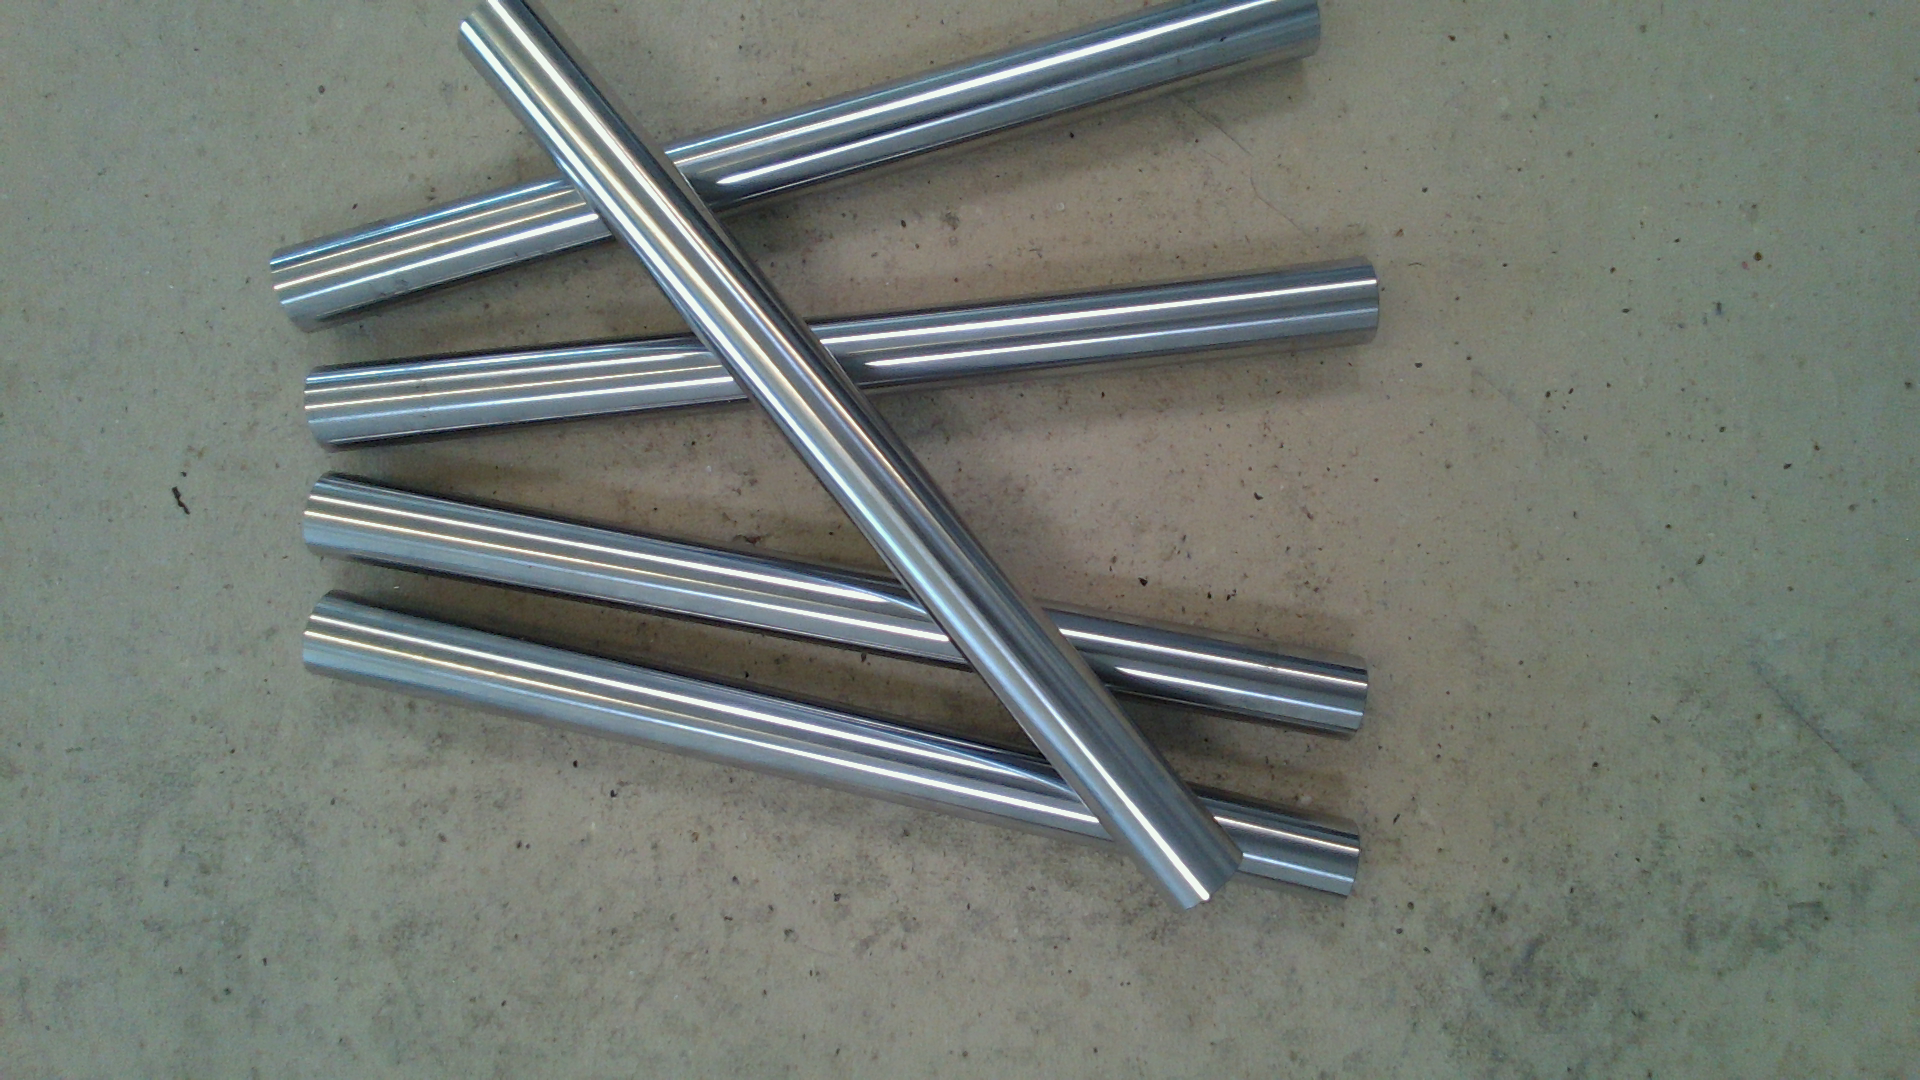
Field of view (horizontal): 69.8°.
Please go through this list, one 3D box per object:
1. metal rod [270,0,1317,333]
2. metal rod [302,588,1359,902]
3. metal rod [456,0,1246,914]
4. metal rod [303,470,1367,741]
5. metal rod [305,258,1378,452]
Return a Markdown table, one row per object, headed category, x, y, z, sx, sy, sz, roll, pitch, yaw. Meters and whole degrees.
| category | x | y | z | sx | sy | sz | roll | pitch | yaw |
| --- | --- | --- | --- | --- | --- | --- | --- | --- | --- |
| metal rod | -0.046 | -0.111 | 0.395 | 0.300 | 0.025 | 0.025 | -15 | 90 | 0 |
| metal rod | -0.036 | 0.059 | 0.395 | 0.300 | 0.025 | 0.025 | 13 | 90 | 0 |
| metal rod | -0.029 | -0.023 | 0.370 | 0.025 | 0.025 | 0.300 | -40 | 90 | 0 |
| metal rod | -0.035 | 0.019 | 0.395 | 0.300 | 0.025 | 0.025 | 10 | 90 | 0 |
| metal rod | -0.033 | -0.053 | 0.395 | 0.300 | 0.025 | 0.025 | -6 | 90 | 0 |
